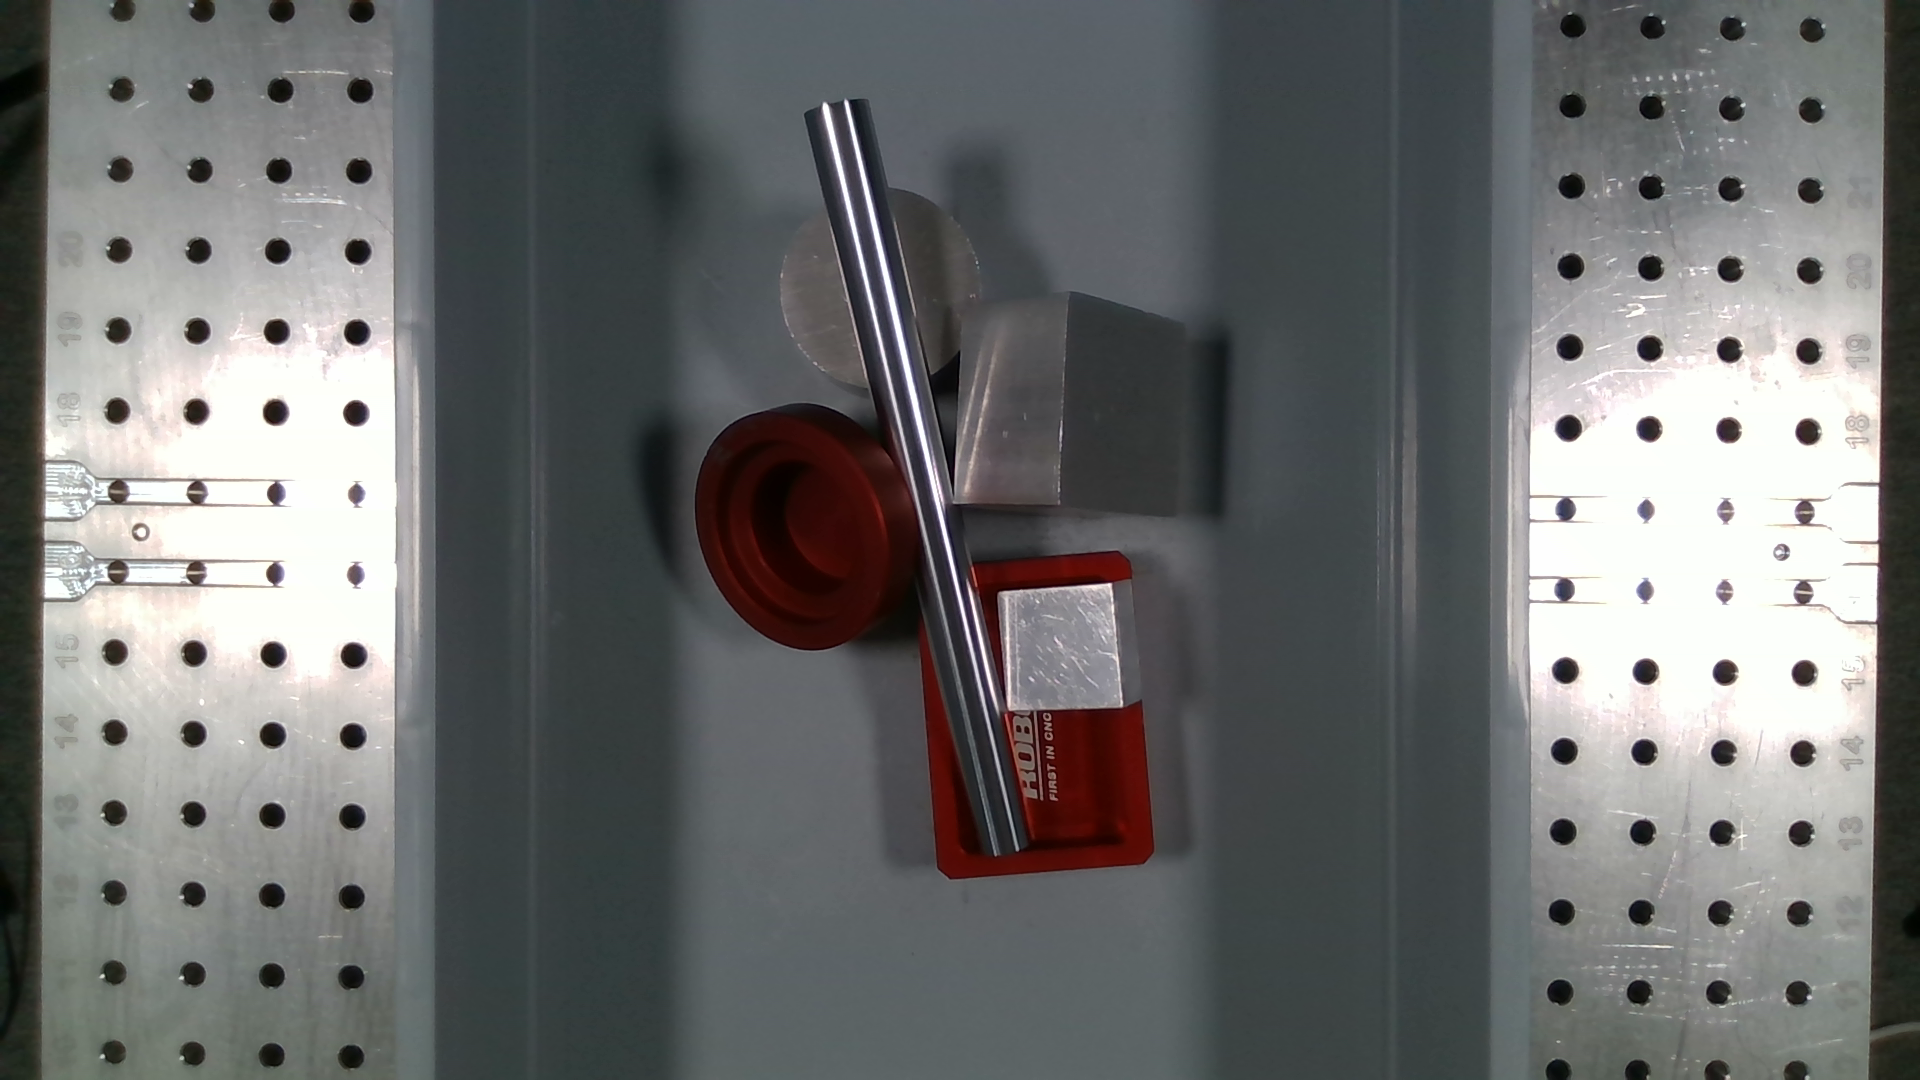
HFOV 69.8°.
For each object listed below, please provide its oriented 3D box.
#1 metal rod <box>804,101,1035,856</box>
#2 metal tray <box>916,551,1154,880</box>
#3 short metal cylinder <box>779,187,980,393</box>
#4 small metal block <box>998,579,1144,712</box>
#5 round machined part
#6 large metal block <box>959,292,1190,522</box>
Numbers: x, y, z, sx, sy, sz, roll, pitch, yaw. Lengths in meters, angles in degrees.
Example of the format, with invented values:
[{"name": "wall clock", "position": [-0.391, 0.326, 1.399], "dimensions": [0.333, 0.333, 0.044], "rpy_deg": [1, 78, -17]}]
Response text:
[{"name": "metal rod", "position": [-0.014, -0.018, 0.544], "dimensions": [0.025, 0.025, 0.300], "rpy_deg": [-13, 101, 0]}, {"name": "metal tray", "position": [0.030, 0.073, 0.583], "dimensions": [0.090, 0.030, 0.130], "rpy_deg": [-5, 91, 0]}, {"name": "short metal cylinder", "position": [-0.032, -0.101, 0.572], "dimensions": [0.080, 0.050, 0.080], "rpy_deg": [0, 90, 0]}, {"name": "small metal block", "position": [0.046, 0.043, 0.565], "dimensions": [0.050, 0.025, 0.050], "rpy_deg": [-5, 90, 26]}, {"name": "round machined part", "position": [-0.058, -0.008, 0.561], "dimensions": [0.098, 0.042, 0.098], "rpy_deg": [10, 110, 30]}, {"name": "large metal block", "position": [0.047, -0.050, 0.551], "dimensions": [0.050, 0.080, 0.080], "rpy_deg": [2, 89, 42]}]
